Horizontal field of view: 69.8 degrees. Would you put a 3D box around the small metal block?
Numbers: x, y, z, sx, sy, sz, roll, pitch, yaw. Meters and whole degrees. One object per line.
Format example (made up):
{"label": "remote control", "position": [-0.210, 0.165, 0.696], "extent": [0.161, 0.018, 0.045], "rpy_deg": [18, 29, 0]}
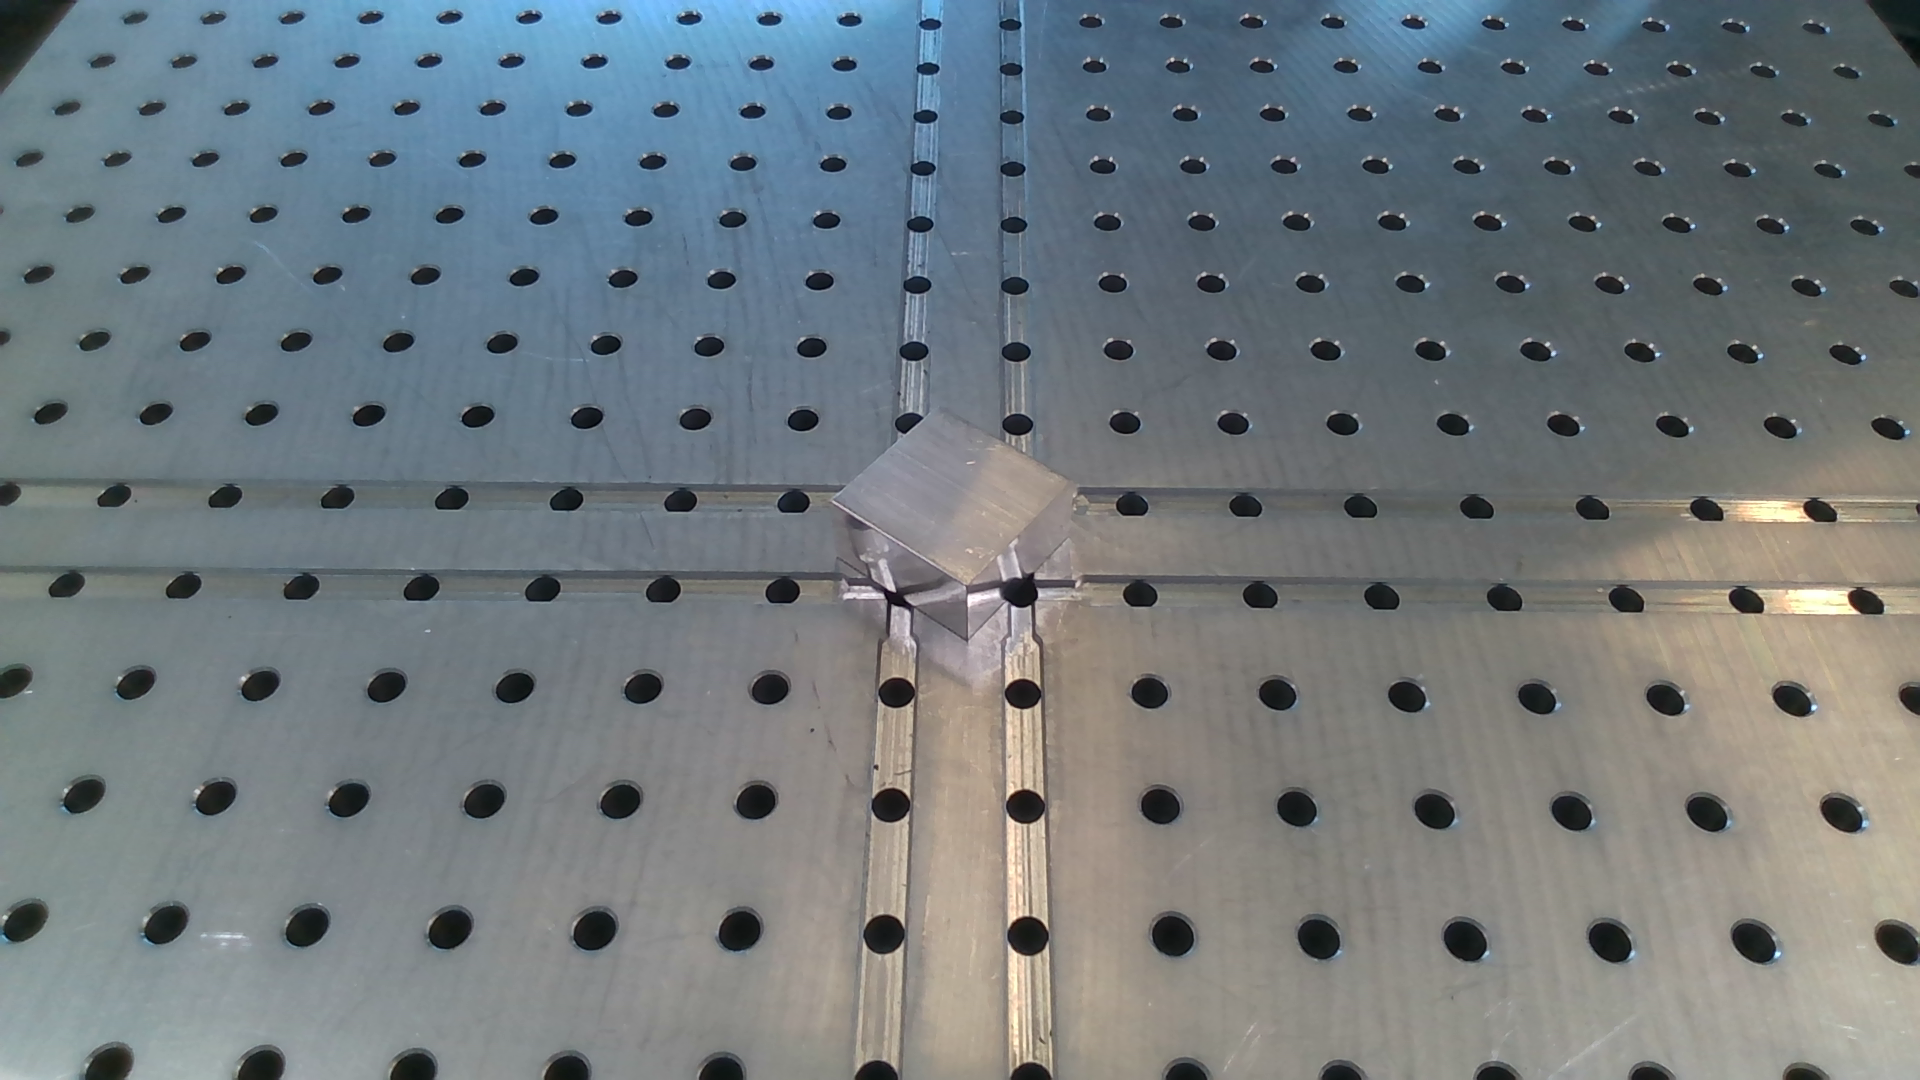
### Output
{"label": "small metal block", "position": [-0.002, -0.006, 0.402], "extent": [0.050, 0.025, 0.050], "rpy_deg": [31, 57, 24]}
